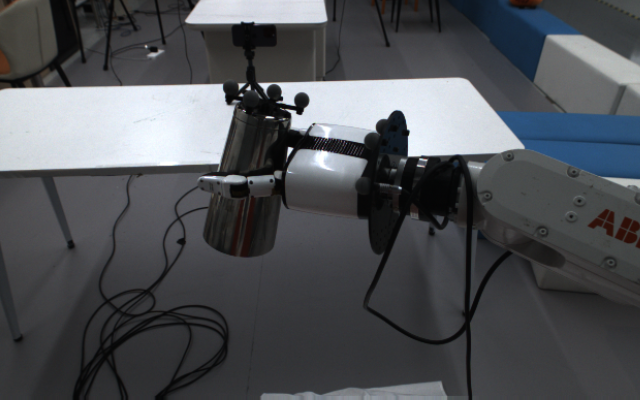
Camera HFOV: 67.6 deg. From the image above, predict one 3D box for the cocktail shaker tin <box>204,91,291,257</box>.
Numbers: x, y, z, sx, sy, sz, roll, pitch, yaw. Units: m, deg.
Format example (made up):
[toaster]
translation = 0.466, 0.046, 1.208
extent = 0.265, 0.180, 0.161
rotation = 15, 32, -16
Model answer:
[cocktail shaker tin]
translation = -0.081, -0.029, 0.584
extent = 0.093, 0.170, 0.093
rotation = 12, 24, -5
